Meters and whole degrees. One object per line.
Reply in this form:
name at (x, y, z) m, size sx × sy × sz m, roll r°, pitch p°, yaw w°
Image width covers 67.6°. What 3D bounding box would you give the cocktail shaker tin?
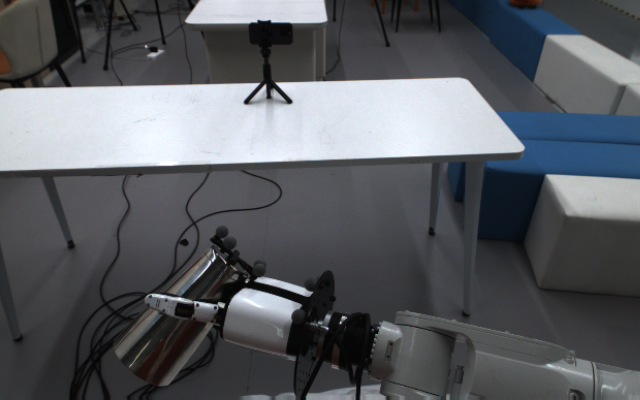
cocktail shaker tin at (-0.173, 0.143, 0.635) m, size 0.170 × 0.093 × 0.093 m, roll -48°, pitch 49°, yaw -3°
